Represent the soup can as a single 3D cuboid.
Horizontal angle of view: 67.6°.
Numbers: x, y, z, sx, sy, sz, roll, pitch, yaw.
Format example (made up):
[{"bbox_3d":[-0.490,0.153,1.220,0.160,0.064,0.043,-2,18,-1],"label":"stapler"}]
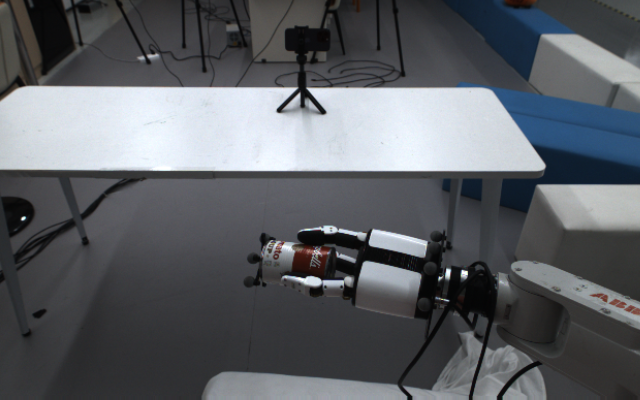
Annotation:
[{"bbox_3d":[-0.030,0.098,0.724,0.101,0.067,0.067,5,35,13],"label":"soup can"}]
